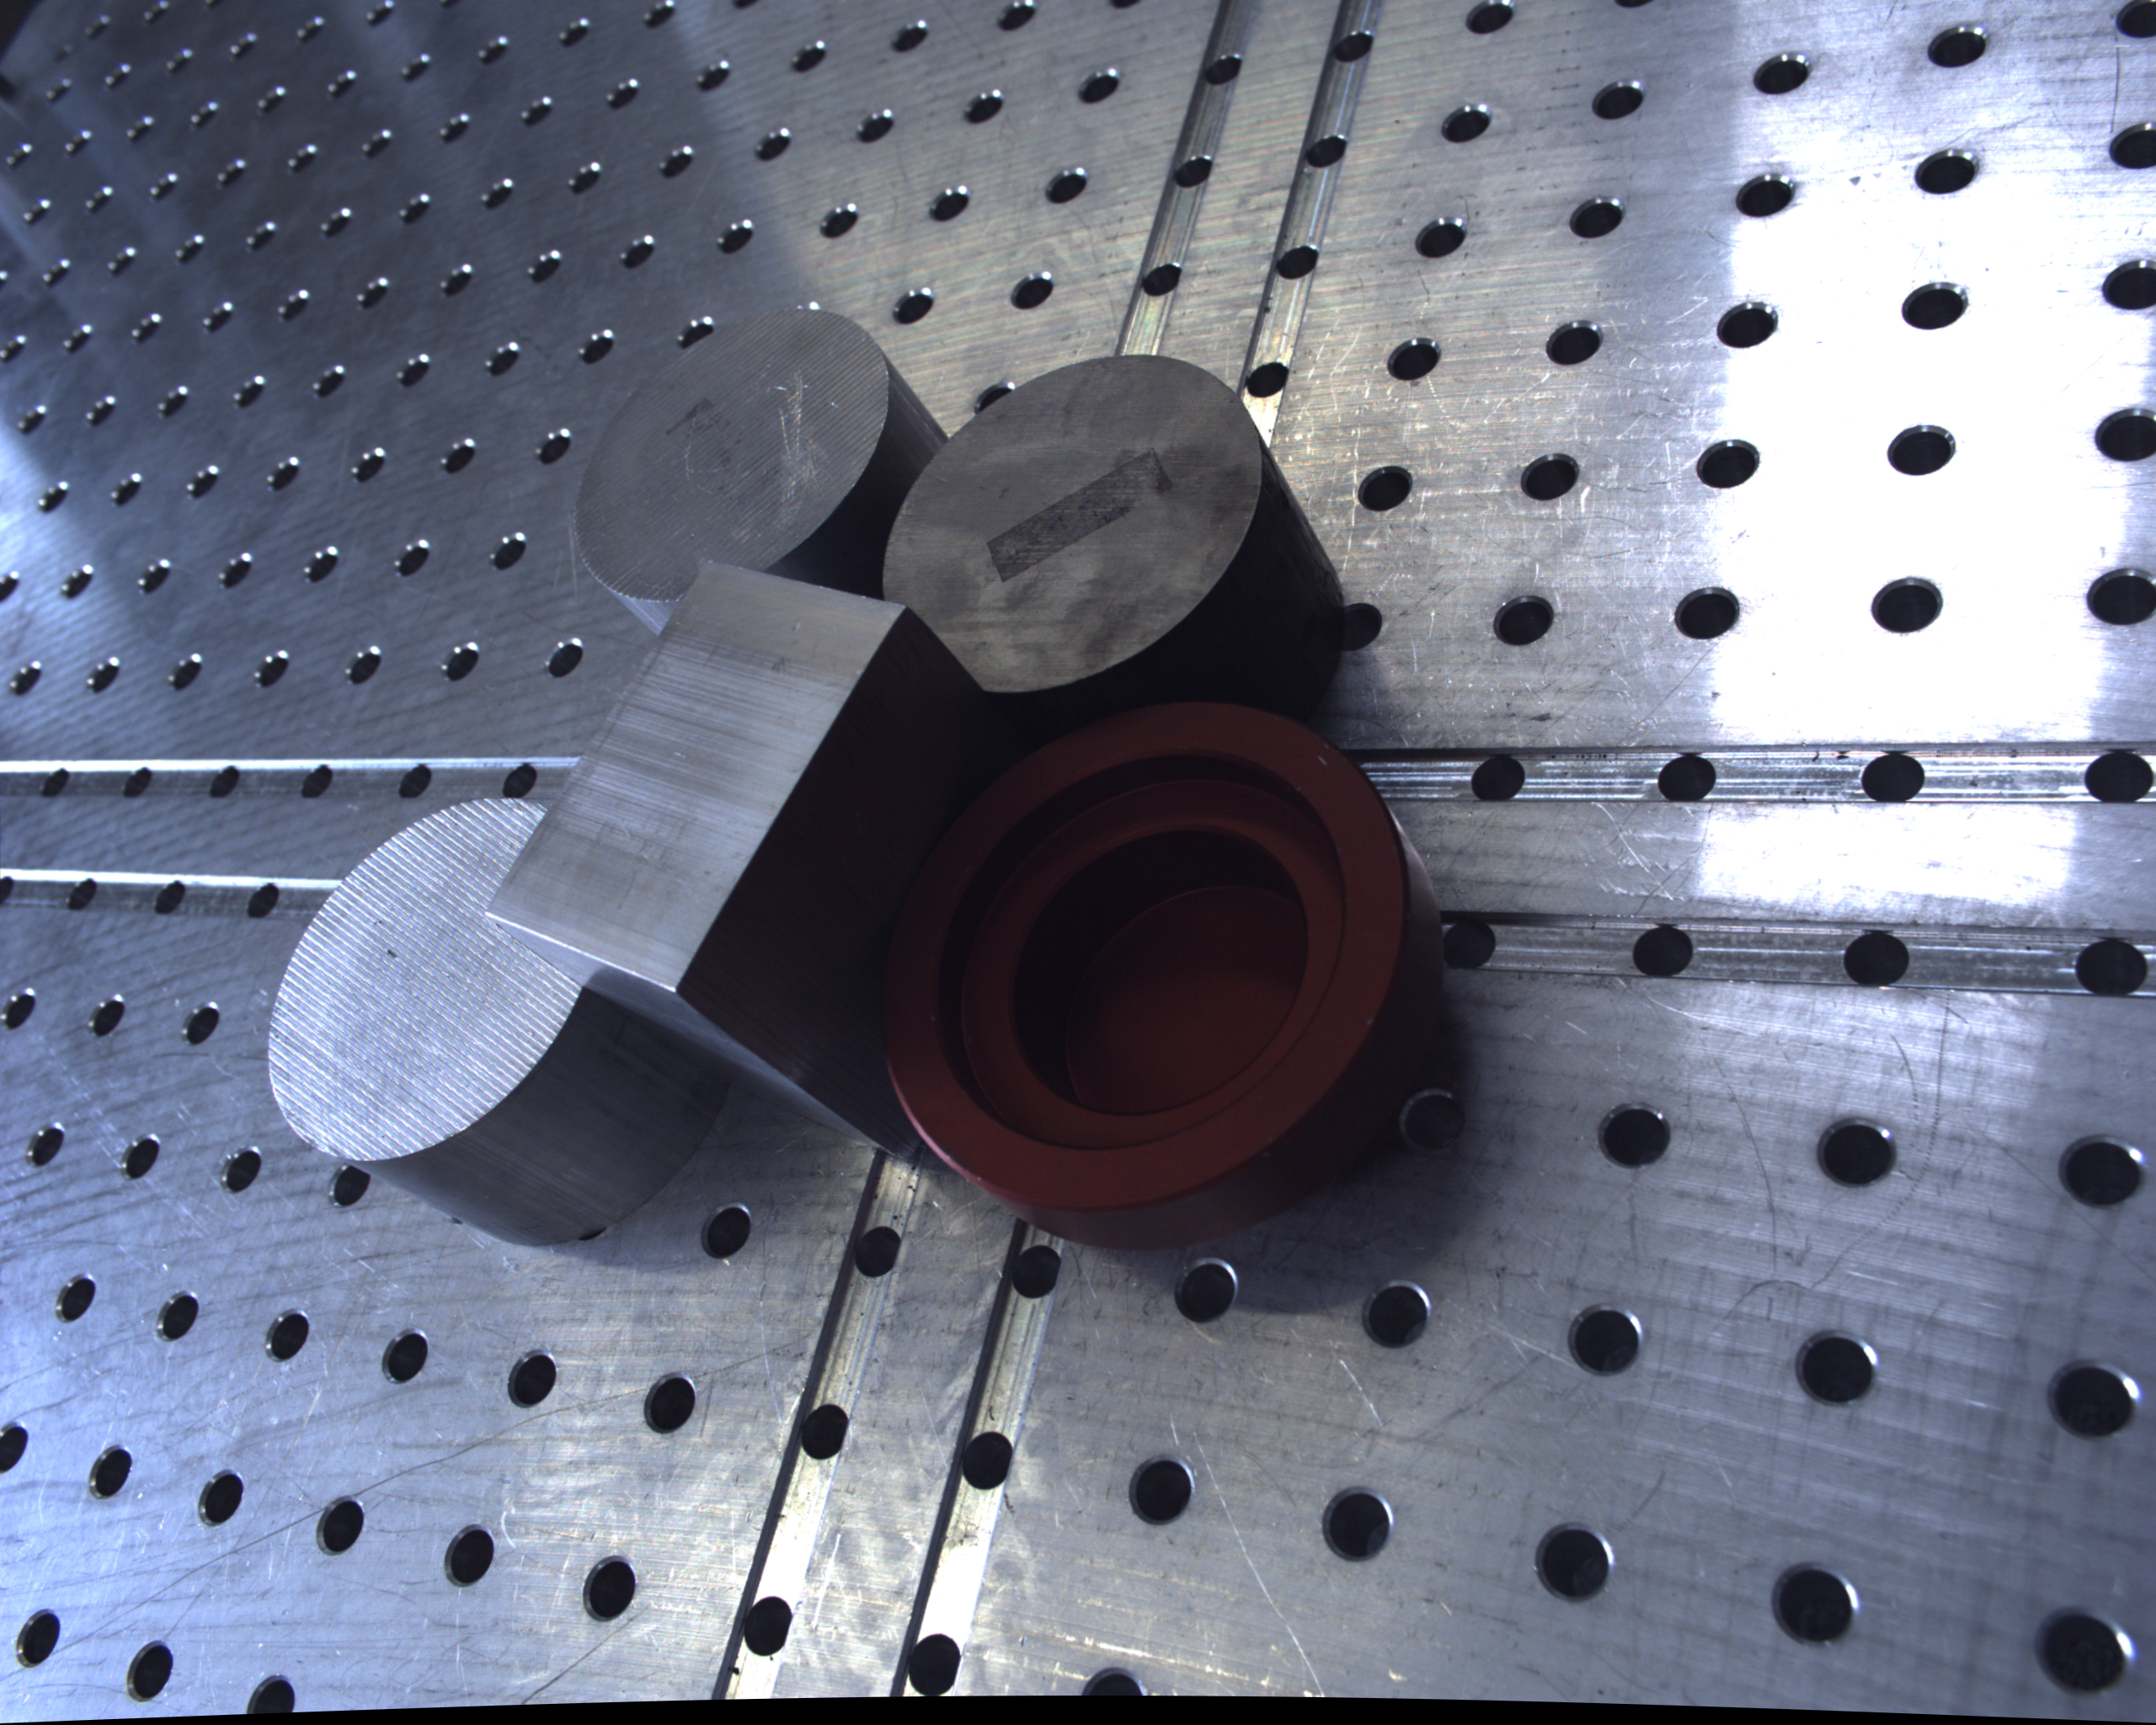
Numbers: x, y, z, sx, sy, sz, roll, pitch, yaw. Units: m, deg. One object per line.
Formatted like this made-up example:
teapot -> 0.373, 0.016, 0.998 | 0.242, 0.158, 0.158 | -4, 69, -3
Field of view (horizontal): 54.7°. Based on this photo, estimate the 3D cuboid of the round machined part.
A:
round machined part -> 0.018, 0.023, 0.374 | 0.098, 0.042, 0.098 | -13, 56, 21

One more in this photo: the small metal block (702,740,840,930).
small metal block -> -0.073, -0.013, 0.454 | 0.050, 0.025, 0.050 | 16, 70, 34

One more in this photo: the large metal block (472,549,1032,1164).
large metal block -> -0.052, 0.000, 0.397 | 0.050, 0.080, 0.080 | 17, 71, 35

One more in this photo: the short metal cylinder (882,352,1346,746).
short metal cylinder -> 0.008, -0.055, 0.422 | 0.080, 0.050, 0.080 | -13, 56, 21

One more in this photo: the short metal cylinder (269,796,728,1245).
short metal cylinder -> -0.118, 0.033, 0.434 | 0.080, 0.050, 0.080 | -13, 56, 21

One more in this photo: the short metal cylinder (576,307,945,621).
short metal cylinder -> -0.066, -0.079, 0.475 | 0.080, 0.050, 0.080 | -13, 56, 21
